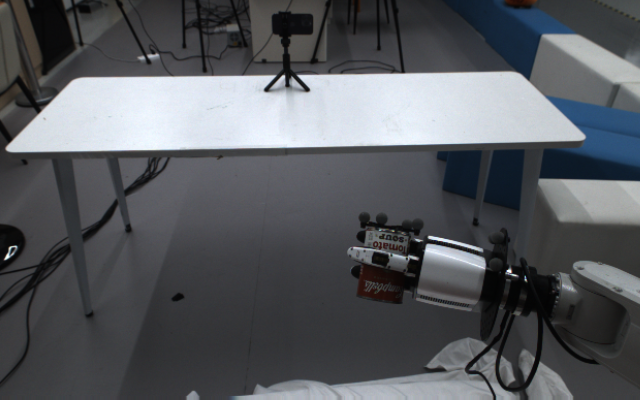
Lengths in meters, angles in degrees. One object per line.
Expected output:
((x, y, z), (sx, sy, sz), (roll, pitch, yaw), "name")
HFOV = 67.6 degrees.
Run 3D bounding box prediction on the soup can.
((0.094, 0.095, 0.705), (0.067, 0.101, 0.067), (9, -6, 1), "soup can")
